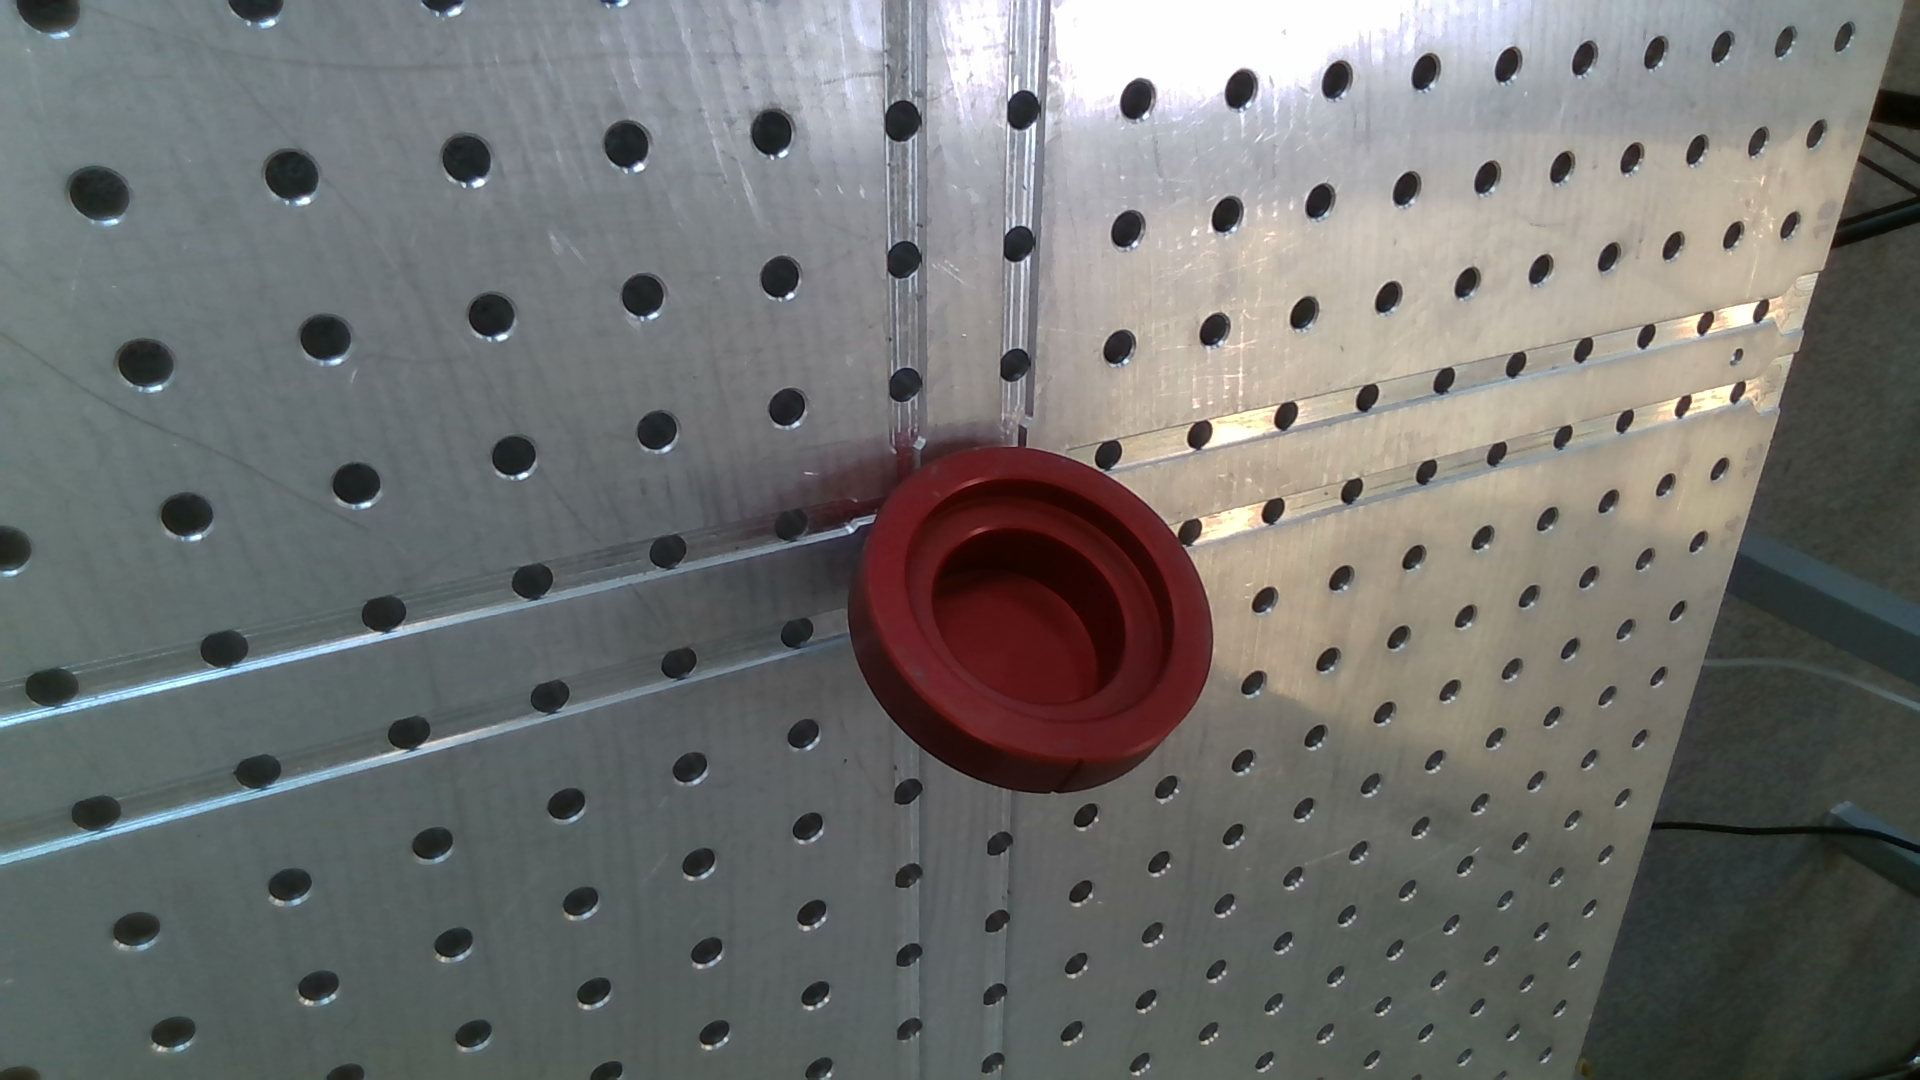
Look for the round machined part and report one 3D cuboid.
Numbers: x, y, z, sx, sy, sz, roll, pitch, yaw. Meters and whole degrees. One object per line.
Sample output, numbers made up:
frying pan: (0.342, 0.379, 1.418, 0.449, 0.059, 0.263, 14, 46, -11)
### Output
round machined part: (0.016, 0.025, 0.380, 0.098, 0.098, 0.042, -11, 151, -27)
